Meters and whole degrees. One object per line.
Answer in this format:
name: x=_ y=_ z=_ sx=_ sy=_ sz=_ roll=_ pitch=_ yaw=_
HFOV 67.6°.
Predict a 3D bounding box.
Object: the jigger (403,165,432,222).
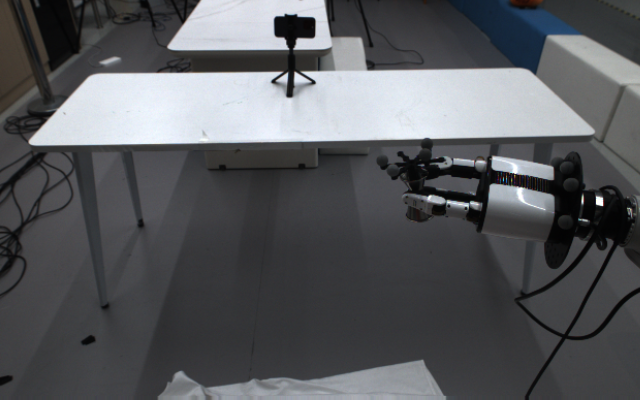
jigger: x=0.140 y=-0.008 z=0.697 sx=0.043 sy=0.071 sz=0.043 roll=-12 pitch=29 yaw=7
